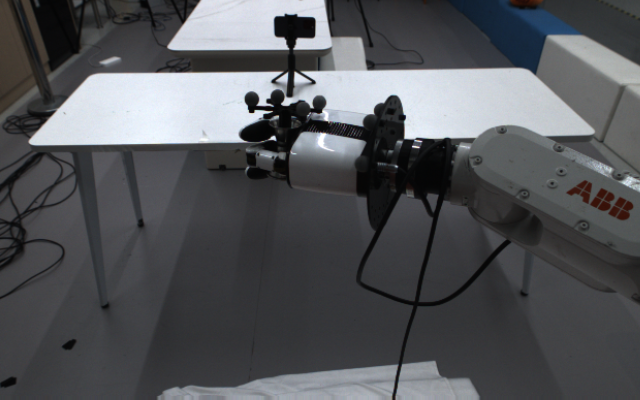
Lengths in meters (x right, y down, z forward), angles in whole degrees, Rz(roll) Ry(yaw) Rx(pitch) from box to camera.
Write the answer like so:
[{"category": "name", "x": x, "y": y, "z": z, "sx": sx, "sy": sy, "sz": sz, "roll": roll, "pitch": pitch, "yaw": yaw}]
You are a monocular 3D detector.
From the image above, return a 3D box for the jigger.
[{"category": "jigger", "x": -0.044, "y": -0.065, "z": 0.611, "sx": 0.043, "sy": 0.071, "sz": 0.043, "roll": 3, "pitch": 25, "yaw": -1}]
